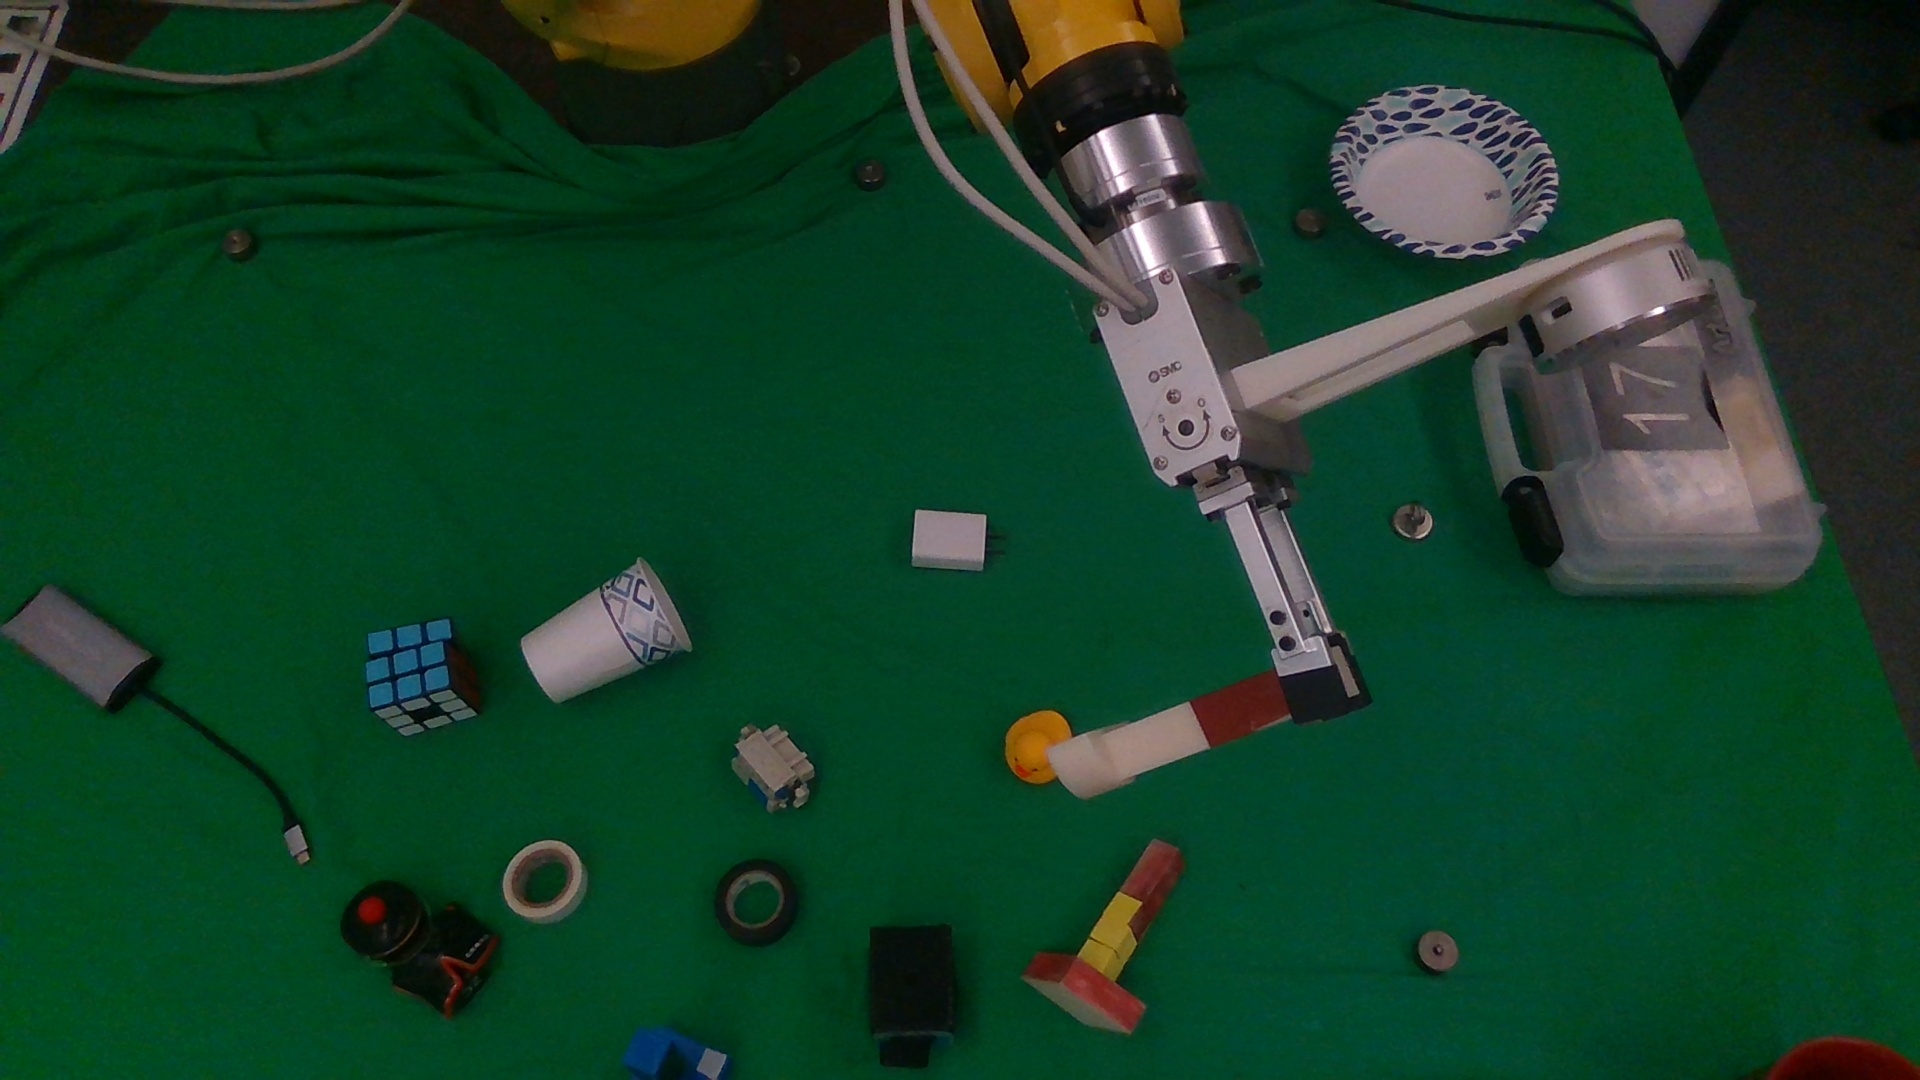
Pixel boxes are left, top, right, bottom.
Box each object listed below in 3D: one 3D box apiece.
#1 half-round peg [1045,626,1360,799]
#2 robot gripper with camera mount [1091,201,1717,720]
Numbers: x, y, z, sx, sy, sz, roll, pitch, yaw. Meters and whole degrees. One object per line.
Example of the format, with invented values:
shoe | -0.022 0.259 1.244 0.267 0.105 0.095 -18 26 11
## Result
half-round peg | 0.096 0.067 0.546 0.122 0.054 0.031 -27 81 23
robot gripper with camera mount | 0.180 -0.039 0.506 0.194 0.118 0.159 -25 78 25
